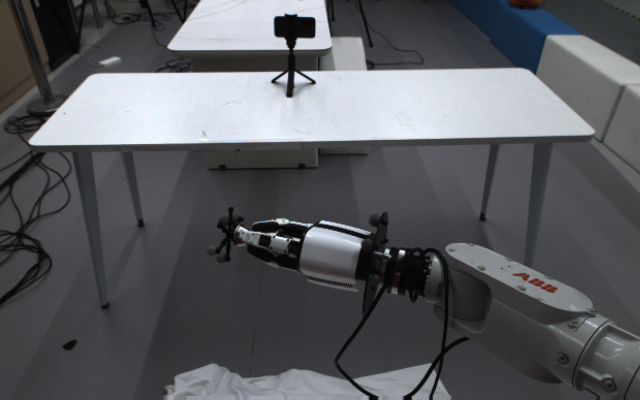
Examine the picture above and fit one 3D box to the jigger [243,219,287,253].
[{"bbox_3d":[-0.089,0.057,0.751,0.071,0.043,0.043,7,35,15],"label":"jigger"}]
